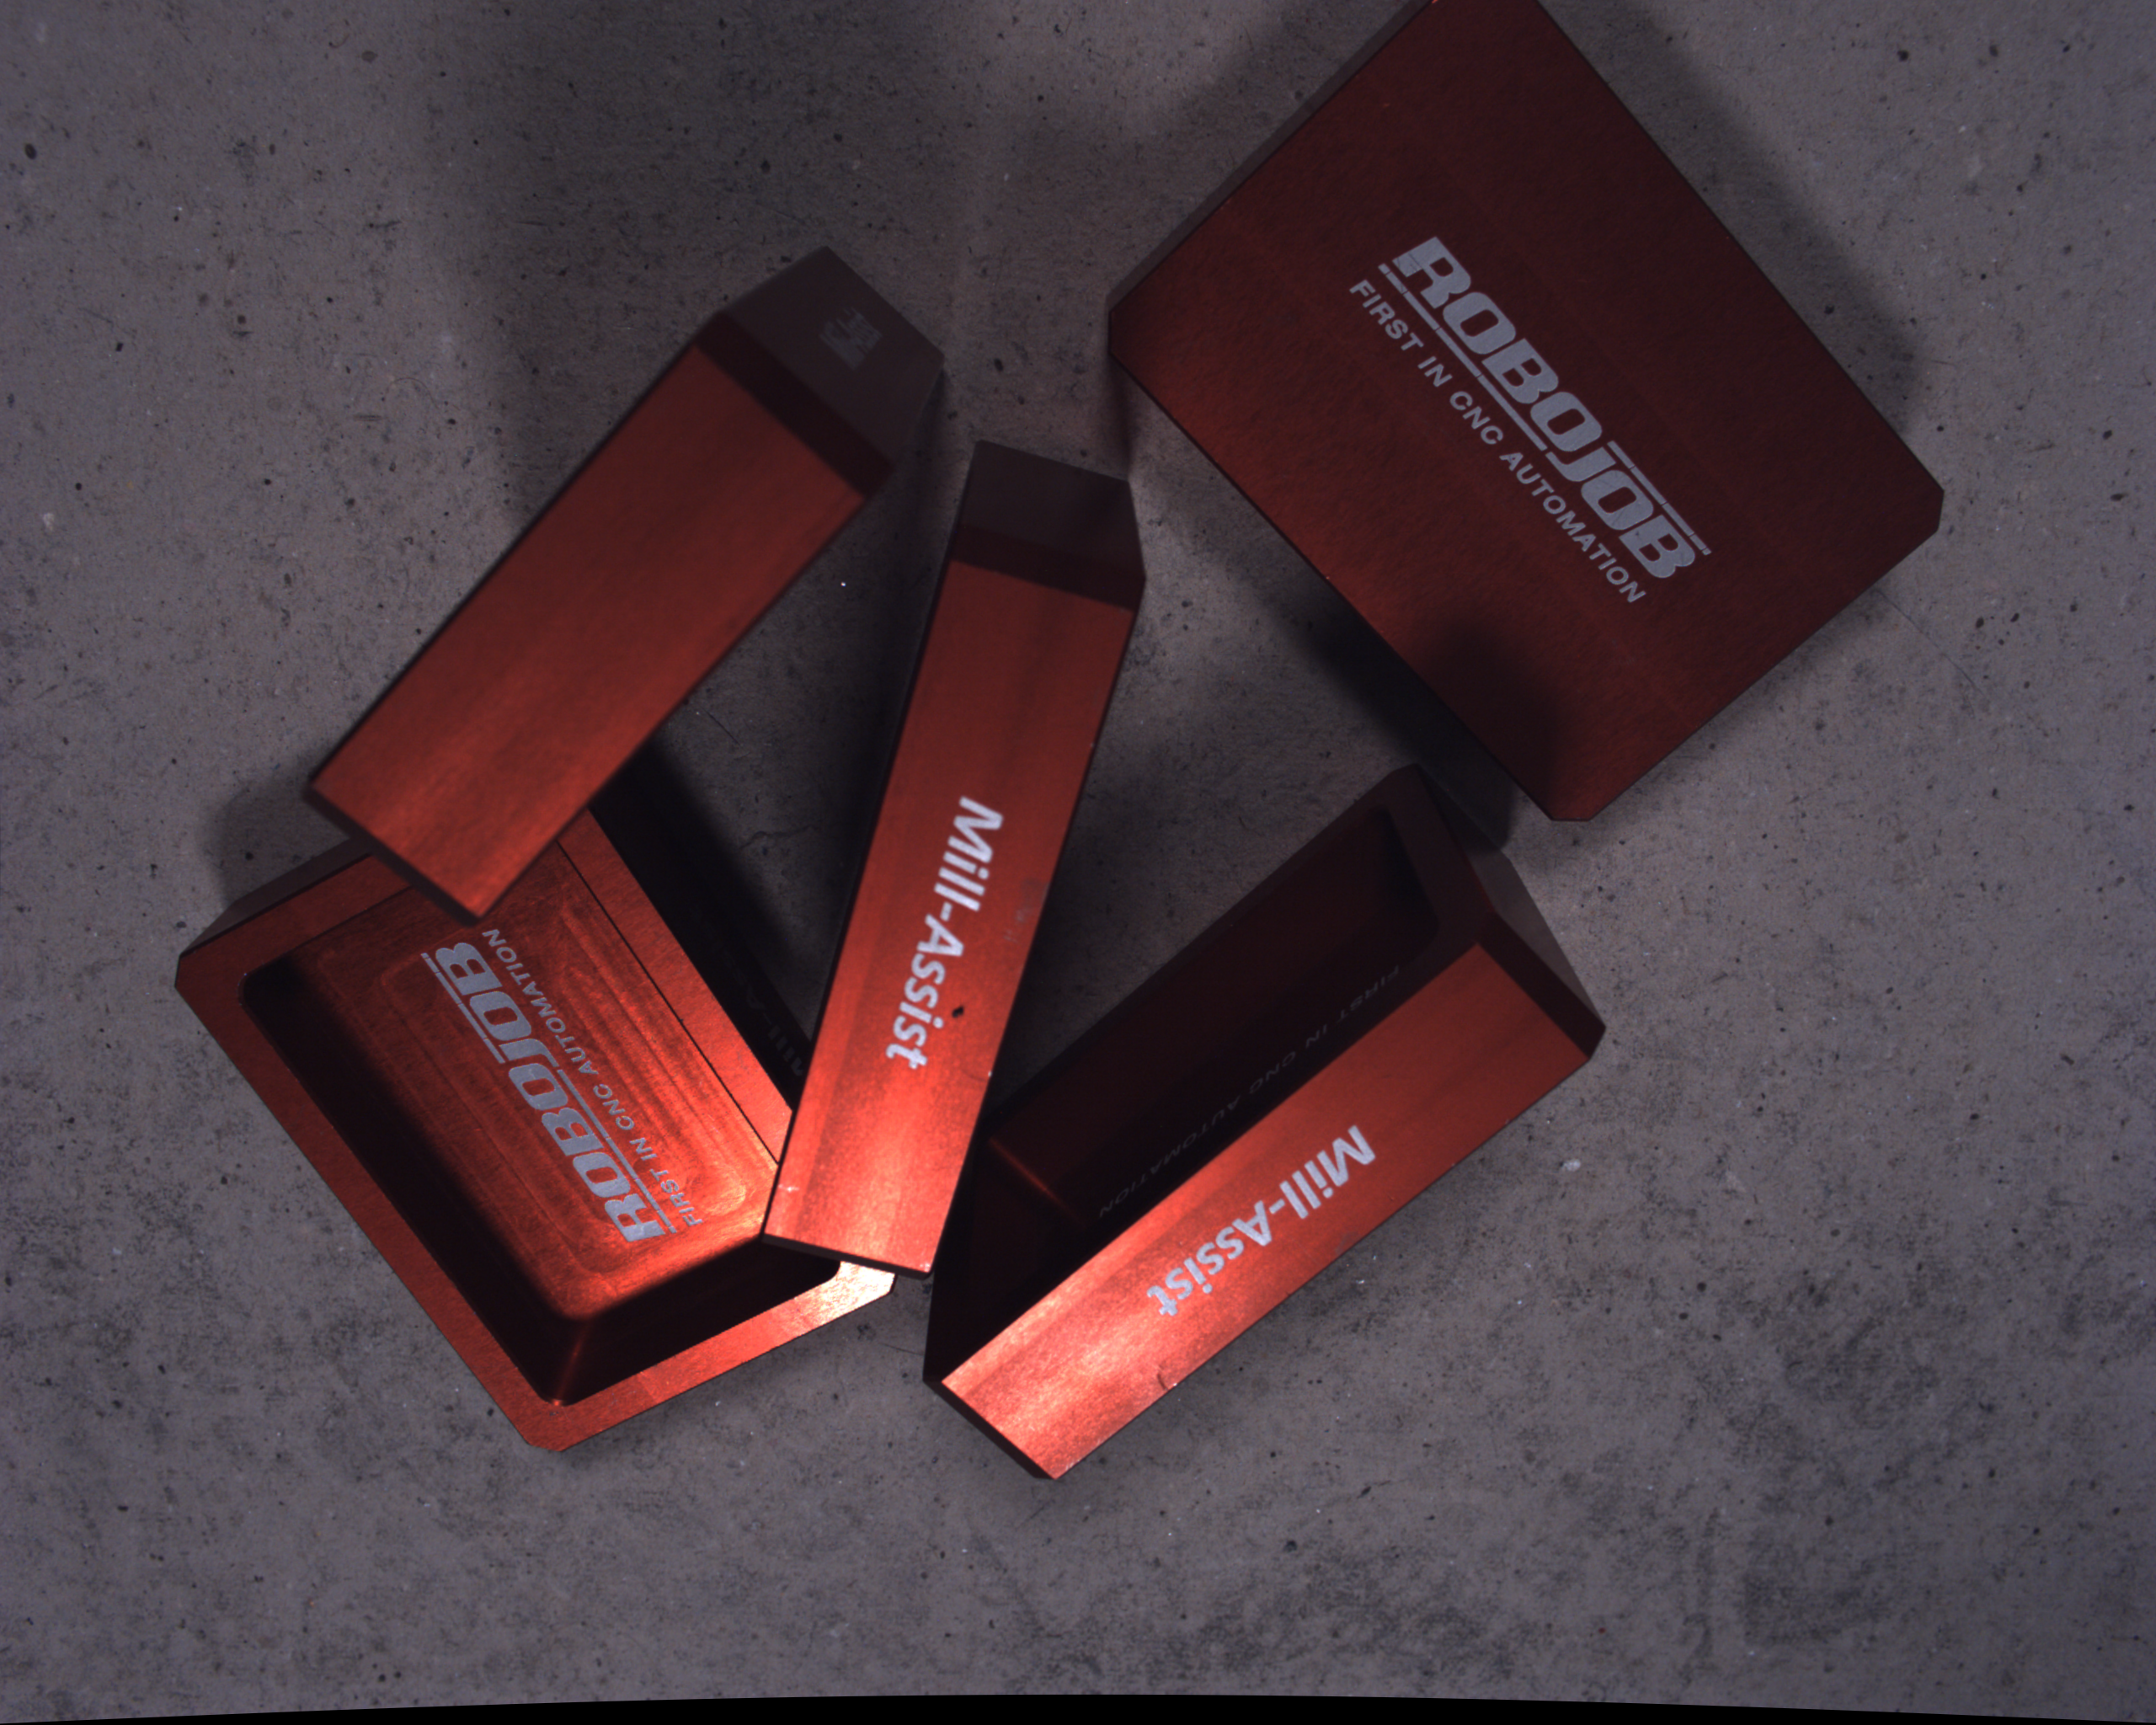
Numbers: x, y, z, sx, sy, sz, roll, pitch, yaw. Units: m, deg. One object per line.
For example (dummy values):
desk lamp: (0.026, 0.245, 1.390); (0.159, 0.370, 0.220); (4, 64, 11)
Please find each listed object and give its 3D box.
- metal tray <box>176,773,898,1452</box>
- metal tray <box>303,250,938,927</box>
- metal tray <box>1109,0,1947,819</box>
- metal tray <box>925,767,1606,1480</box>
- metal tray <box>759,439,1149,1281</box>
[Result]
metal tray: (-0.104, 0.048, 0.424); (0.090, 0.030, 0.130); (-27, 108, 9)
metal tray: (-0.066, -0.051, 0.335); (0.030, 0.130, 0.090); (42, 104, -14)
metal tray: (0.080, -0.082, 0.379); (0.090, 0.030, 0.130); (-43, 105, 13)
metal tray: (0.030, 0.046, 0.393); (0.130, 0.090, 0.030); (-41, 105, 13)
metal tray: (-0.022, -0.003, 0.374); (0.030, 0.090, 0.129); (16, 109, -6)
